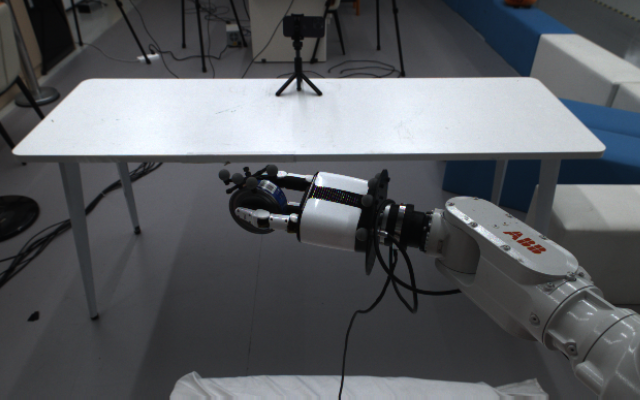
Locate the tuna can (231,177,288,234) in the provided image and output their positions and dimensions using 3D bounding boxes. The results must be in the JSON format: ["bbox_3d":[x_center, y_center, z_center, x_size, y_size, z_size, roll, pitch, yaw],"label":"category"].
[{"bbox_3d":[-0.089,0.010,0.748,0.085,0.085,0.034,9,33,11],"label":"tuna can"}]
